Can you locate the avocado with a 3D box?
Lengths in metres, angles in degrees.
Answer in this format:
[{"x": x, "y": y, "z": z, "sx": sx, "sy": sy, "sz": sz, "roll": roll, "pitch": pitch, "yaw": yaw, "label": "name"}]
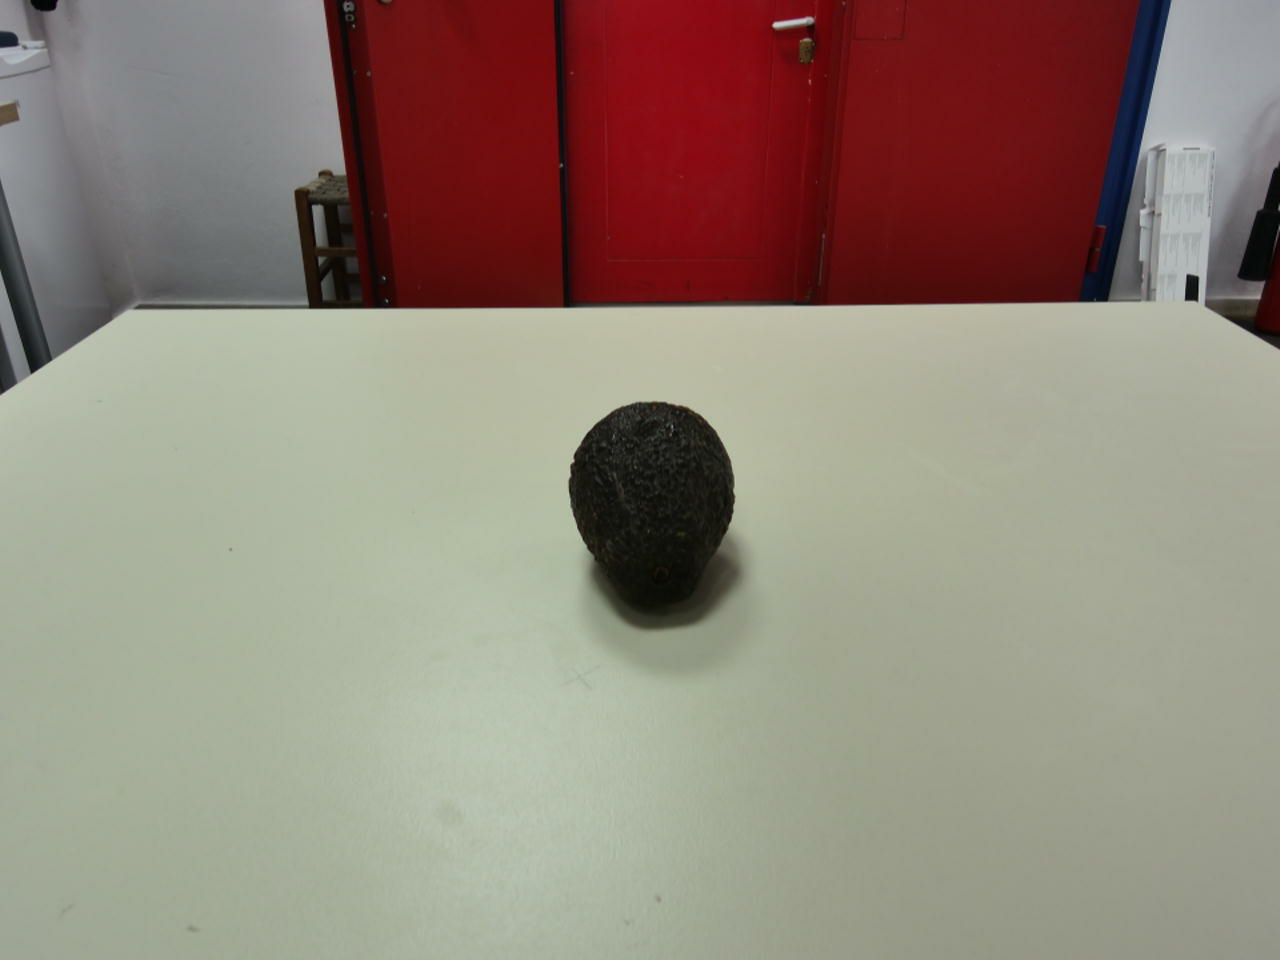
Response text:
[{"x": 0.003, "y": 0.005, "z": 0.414, "sx": 0.070, "sy": 0.069, "sz": 0.090, "roll": 11, "pitch": 26, "yaw": 23, "label": "avocado"}]
